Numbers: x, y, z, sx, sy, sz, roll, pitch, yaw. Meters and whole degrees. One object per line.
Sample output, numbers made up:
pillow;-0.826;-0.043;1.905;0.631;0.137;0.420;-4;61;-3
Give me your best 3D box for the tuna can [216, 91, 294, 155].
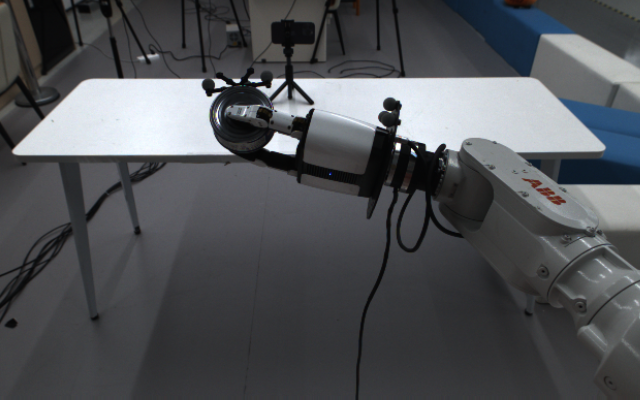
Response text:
tuna can;-0.098;-0.103;0.638;0.085;0.034;0.085;0;72;-1
